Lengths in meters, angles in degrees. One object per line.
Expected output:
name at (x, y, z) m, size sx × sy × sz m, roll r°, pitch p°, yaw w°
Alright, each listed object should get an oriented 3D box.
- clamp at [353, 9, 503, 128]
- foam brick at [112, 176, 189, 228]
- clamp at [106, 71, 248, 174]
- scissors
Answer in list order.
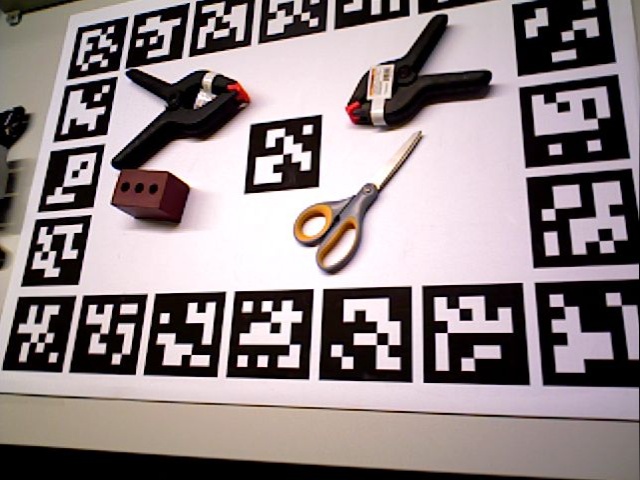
clamp at (0.113, -0.185, 0.643) m, size 0.166 × 0.036 × 0.121 m, roll -30°, pitch 73°, yaw 10°
foam brick at (-0.223, -0.050, 0.713) m, size 0.078 × 0.051 × 0.052 m, roll 4°, pitch 76°, yaw 25°
clamp at (-0.198, -0.179, 0.749) m, size 0.204 × 0.037 × 0.164 m, roll -6°, pitch 69°, yaw 17°
scissors at (0.046, -0.042, 0.627) m, size 0.087 × 0.016 × 0.202 m, roll 40°, pitch 88°, yaw 18°
